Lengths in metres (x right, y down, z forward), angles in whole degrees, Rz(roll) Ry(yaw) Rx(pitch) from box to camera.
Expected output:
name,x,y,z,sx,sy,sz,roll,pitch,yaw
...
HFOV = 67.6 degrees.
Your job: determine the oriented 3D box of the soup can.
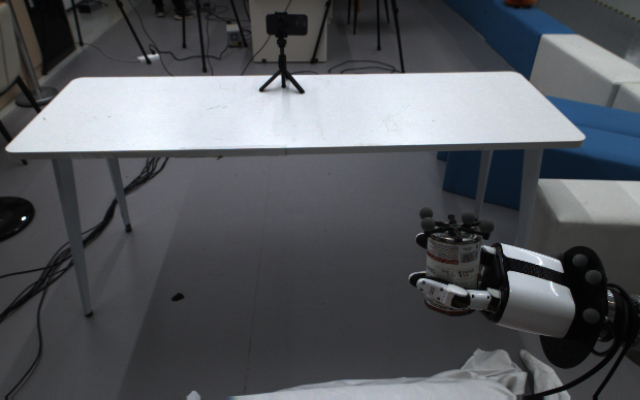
name,x,y,z,sx,sy,sz,roll,pitch,yaw
soup can,0.173,0.088,0.622,0.067,0.101,0.067,-1,17,0
